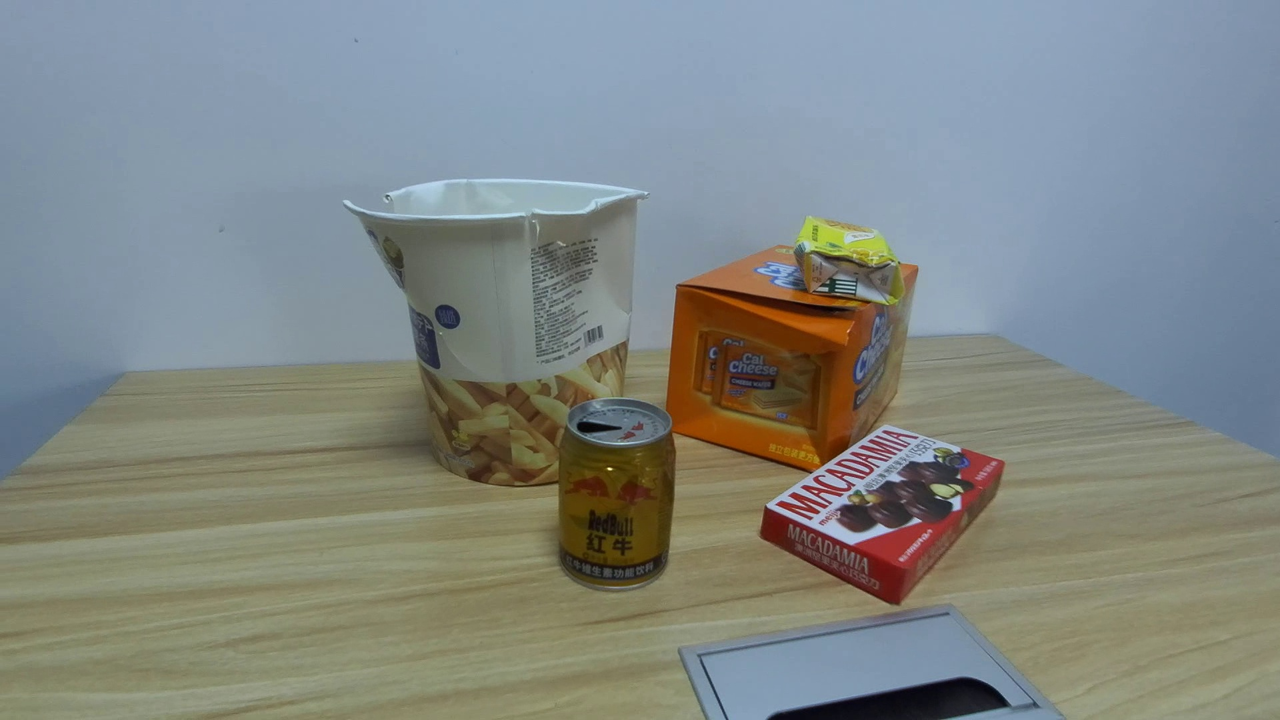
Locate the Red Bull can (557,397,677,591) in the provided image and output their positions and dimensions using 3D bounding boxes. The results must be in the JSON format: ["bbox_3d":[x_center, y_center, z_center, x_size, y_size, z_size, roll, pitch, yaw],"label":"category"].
[{"bbox_3d":[-0.012,0.075,0.407,0.068,0.093,0.068,2,20,0],"label":"Red Bull can"}]

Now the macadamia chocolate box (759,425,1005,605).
[{"bbox_3d":[0.169,0.094,0.479,0.095,0.027,0.178,19,25,39],"label":"macadamia chocolate box"}]

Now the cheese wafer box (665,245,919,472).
[{"bbox_3d":[0.141,-0.015,0.618,0.149,0.137,0.228,15,23,29],"label":"cheese wafer box"}]

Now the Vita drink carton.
[{"bbox_3d":[0.162,-0.078,0.559,0.087,0.042,0.108,13,24,5],"label":"Vita drink carton"}]

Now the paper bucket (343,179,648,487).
[{"bbox_3d":[-0.089,-0.028,0.525,0.145,0.197,0.203,8,22,18],"label":"paper bucket"}]
